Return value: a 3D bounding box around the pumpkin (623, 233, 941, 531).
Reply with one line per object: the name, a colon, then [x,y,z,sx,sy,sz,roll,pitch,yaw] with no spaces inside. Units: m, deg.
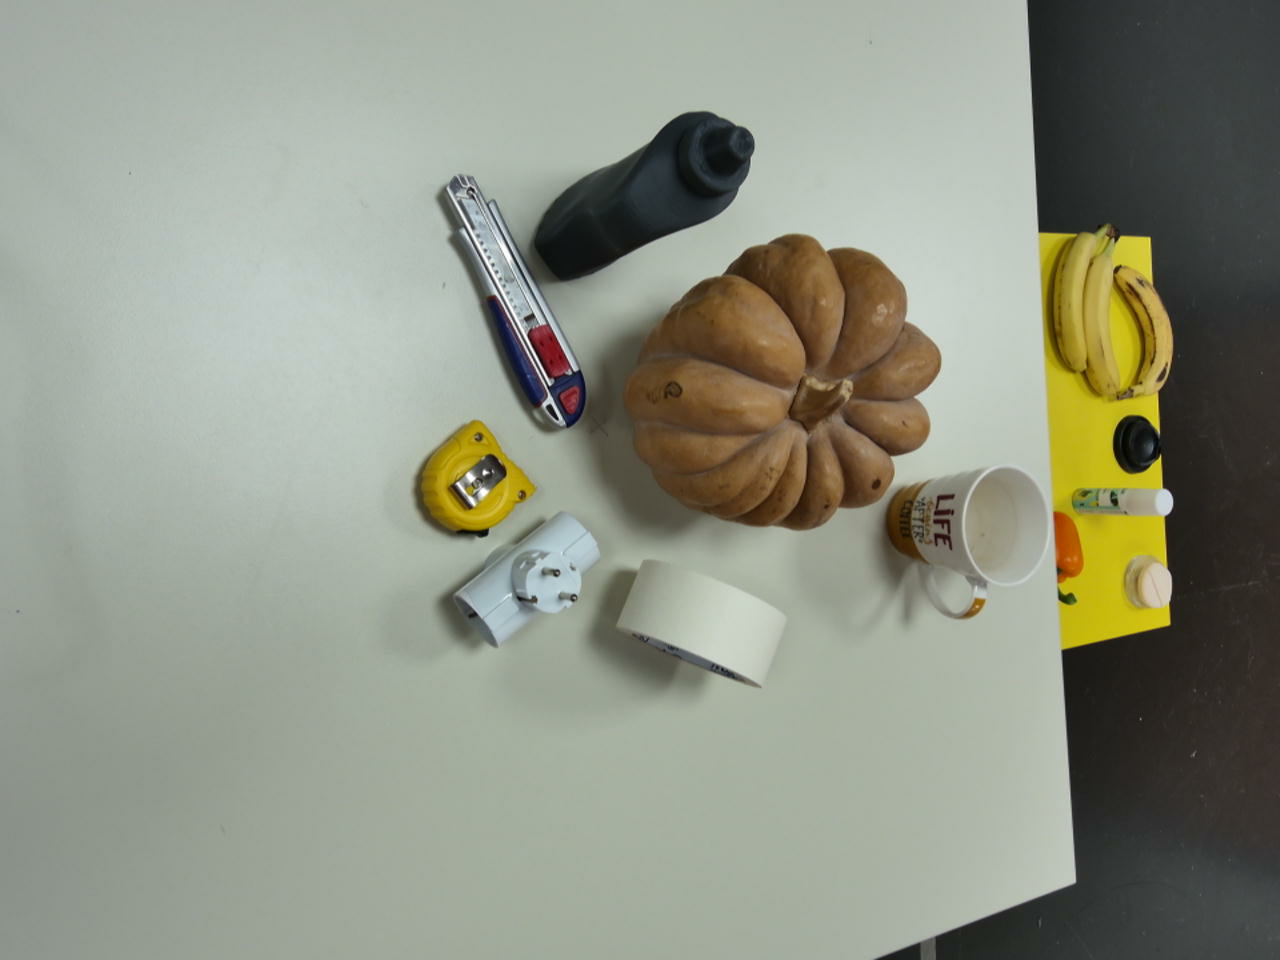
pumpkin: [0.087,-0.060,0.660,0.198,0.177,0.198,0,90,-28]
